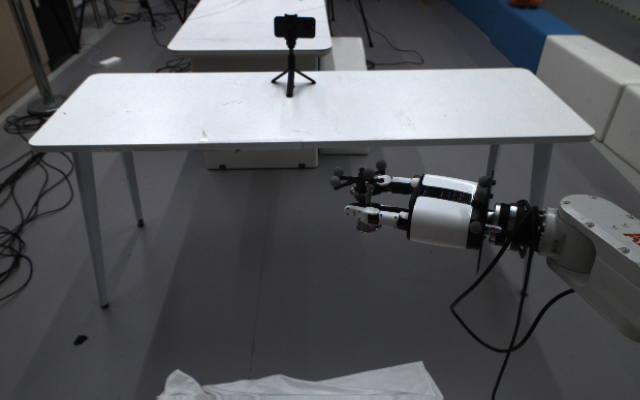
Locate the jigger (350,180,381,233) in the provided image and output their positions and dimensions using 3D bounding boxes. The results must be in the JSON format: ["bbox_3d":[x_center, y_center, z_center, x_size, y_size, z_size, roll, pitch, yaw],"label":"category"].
[{"bbox_3d":[0.074,0.012,0.781,0.043,0.071,0.043,-11,24,5],"label":"jigger"}]
